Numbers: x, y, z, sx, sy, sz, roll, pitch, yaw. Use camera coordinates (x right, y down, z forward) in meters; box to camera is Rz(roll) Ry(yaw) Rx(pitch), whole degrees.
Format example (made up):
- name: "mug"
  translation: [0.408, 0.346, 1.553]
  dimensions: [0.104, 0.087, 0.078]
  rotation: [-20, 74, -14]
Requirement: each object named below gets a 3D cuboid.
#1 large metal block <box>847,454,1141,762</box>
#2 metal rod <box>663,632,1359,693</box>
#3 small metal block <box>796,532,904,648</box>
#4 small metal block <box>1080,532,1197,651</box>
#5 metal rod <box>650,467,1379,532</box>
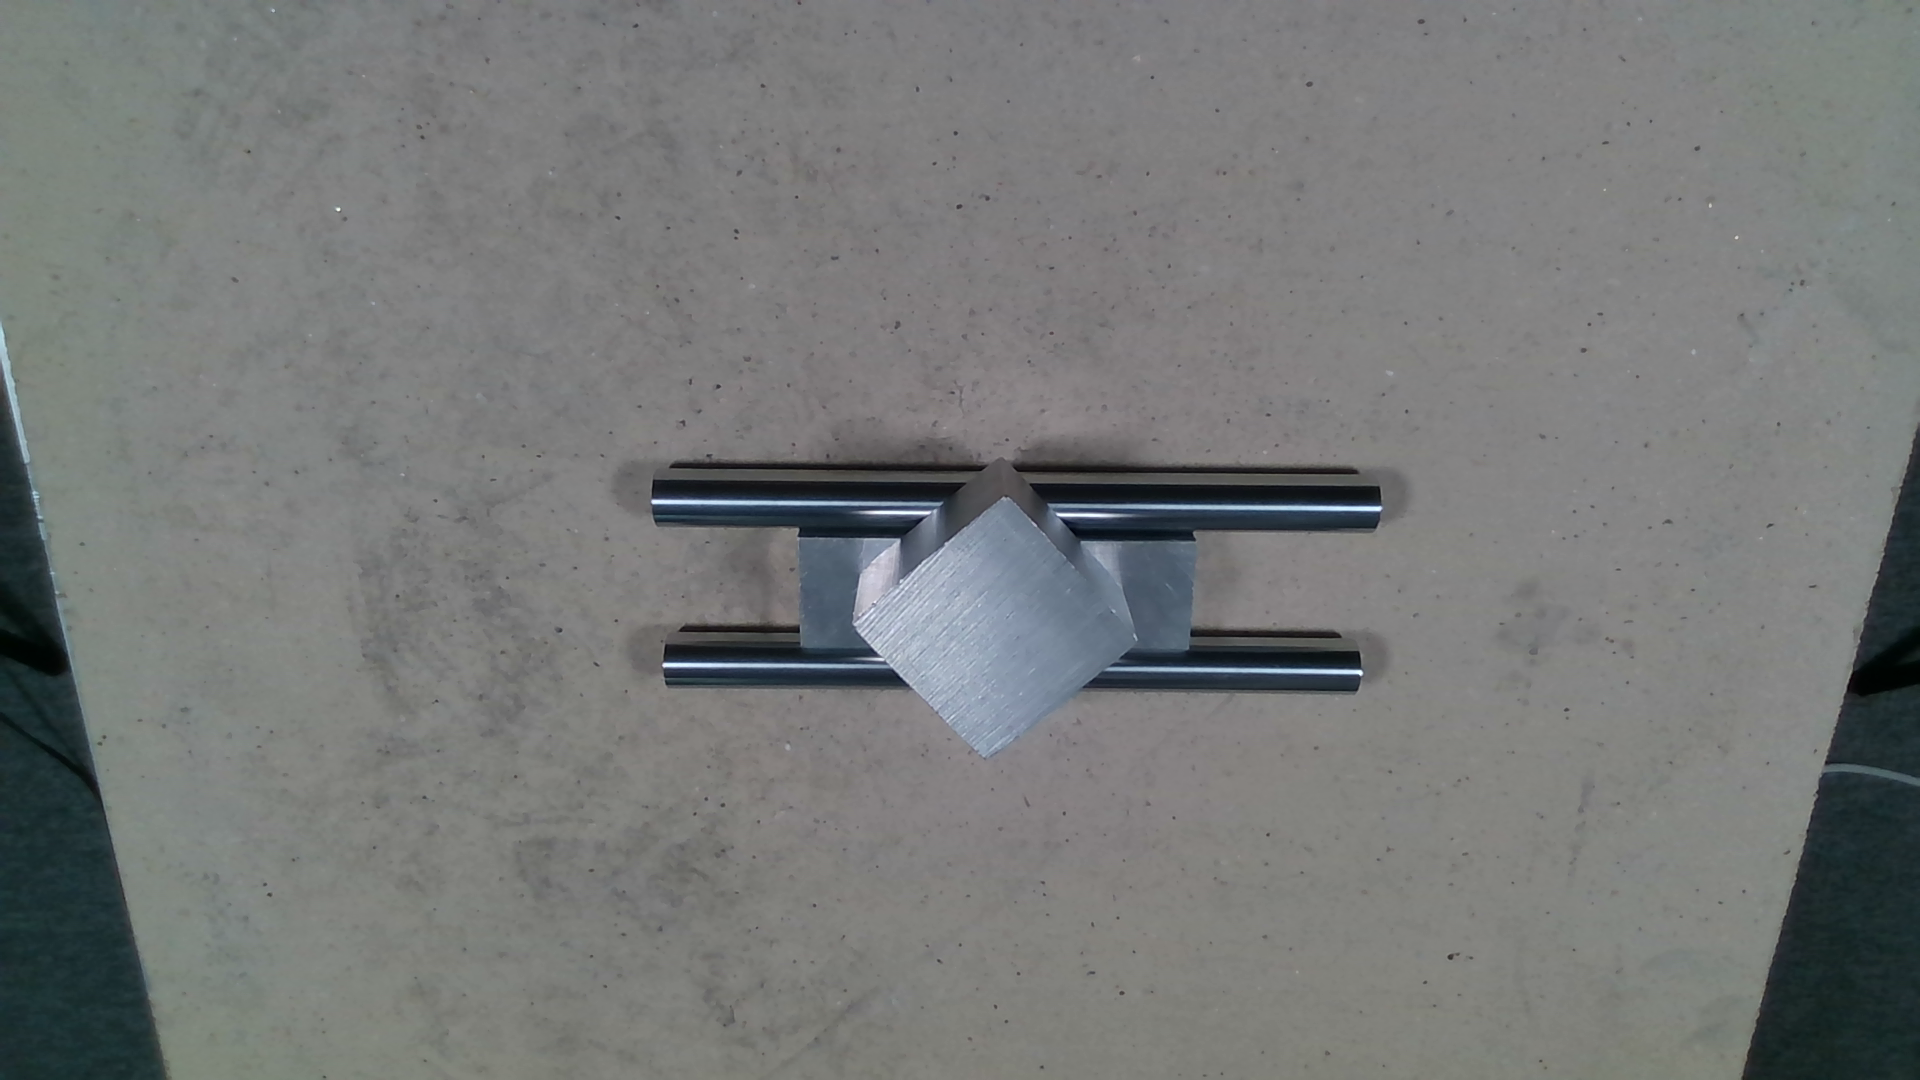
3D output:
- name: "large metal block"
  translation: [0.013, 0.027, 0.553]
  dimensions: [0.080, 0.050, 0.080]
  rotation: [-39, 105, 13]
- name: "metal rod"
  translation: [0.022, 0.054, 0.605]
  dimensions: [0.300, 0.025, 0.025]
  rotation: [1, 110, 0]
- name: "small metal block"
  translation: [-0.043, 0.018, 0.590]
  dimensions: [0.050, 0.025, 0.050]
  rotation: [1, 110, 0]
- name: "small metal block"
  translation: [0.073, 0.019, 0.591]
  dimensions: [0.050, 0.025, 0.050]
  rotation: [1, 110, 0]
- name: "metal rod"
  translation: [0.023, -0.017, 0.579]
  dimensions: [0.300, 0.025, 0.025]
  rotation: [1, 110, 0]
